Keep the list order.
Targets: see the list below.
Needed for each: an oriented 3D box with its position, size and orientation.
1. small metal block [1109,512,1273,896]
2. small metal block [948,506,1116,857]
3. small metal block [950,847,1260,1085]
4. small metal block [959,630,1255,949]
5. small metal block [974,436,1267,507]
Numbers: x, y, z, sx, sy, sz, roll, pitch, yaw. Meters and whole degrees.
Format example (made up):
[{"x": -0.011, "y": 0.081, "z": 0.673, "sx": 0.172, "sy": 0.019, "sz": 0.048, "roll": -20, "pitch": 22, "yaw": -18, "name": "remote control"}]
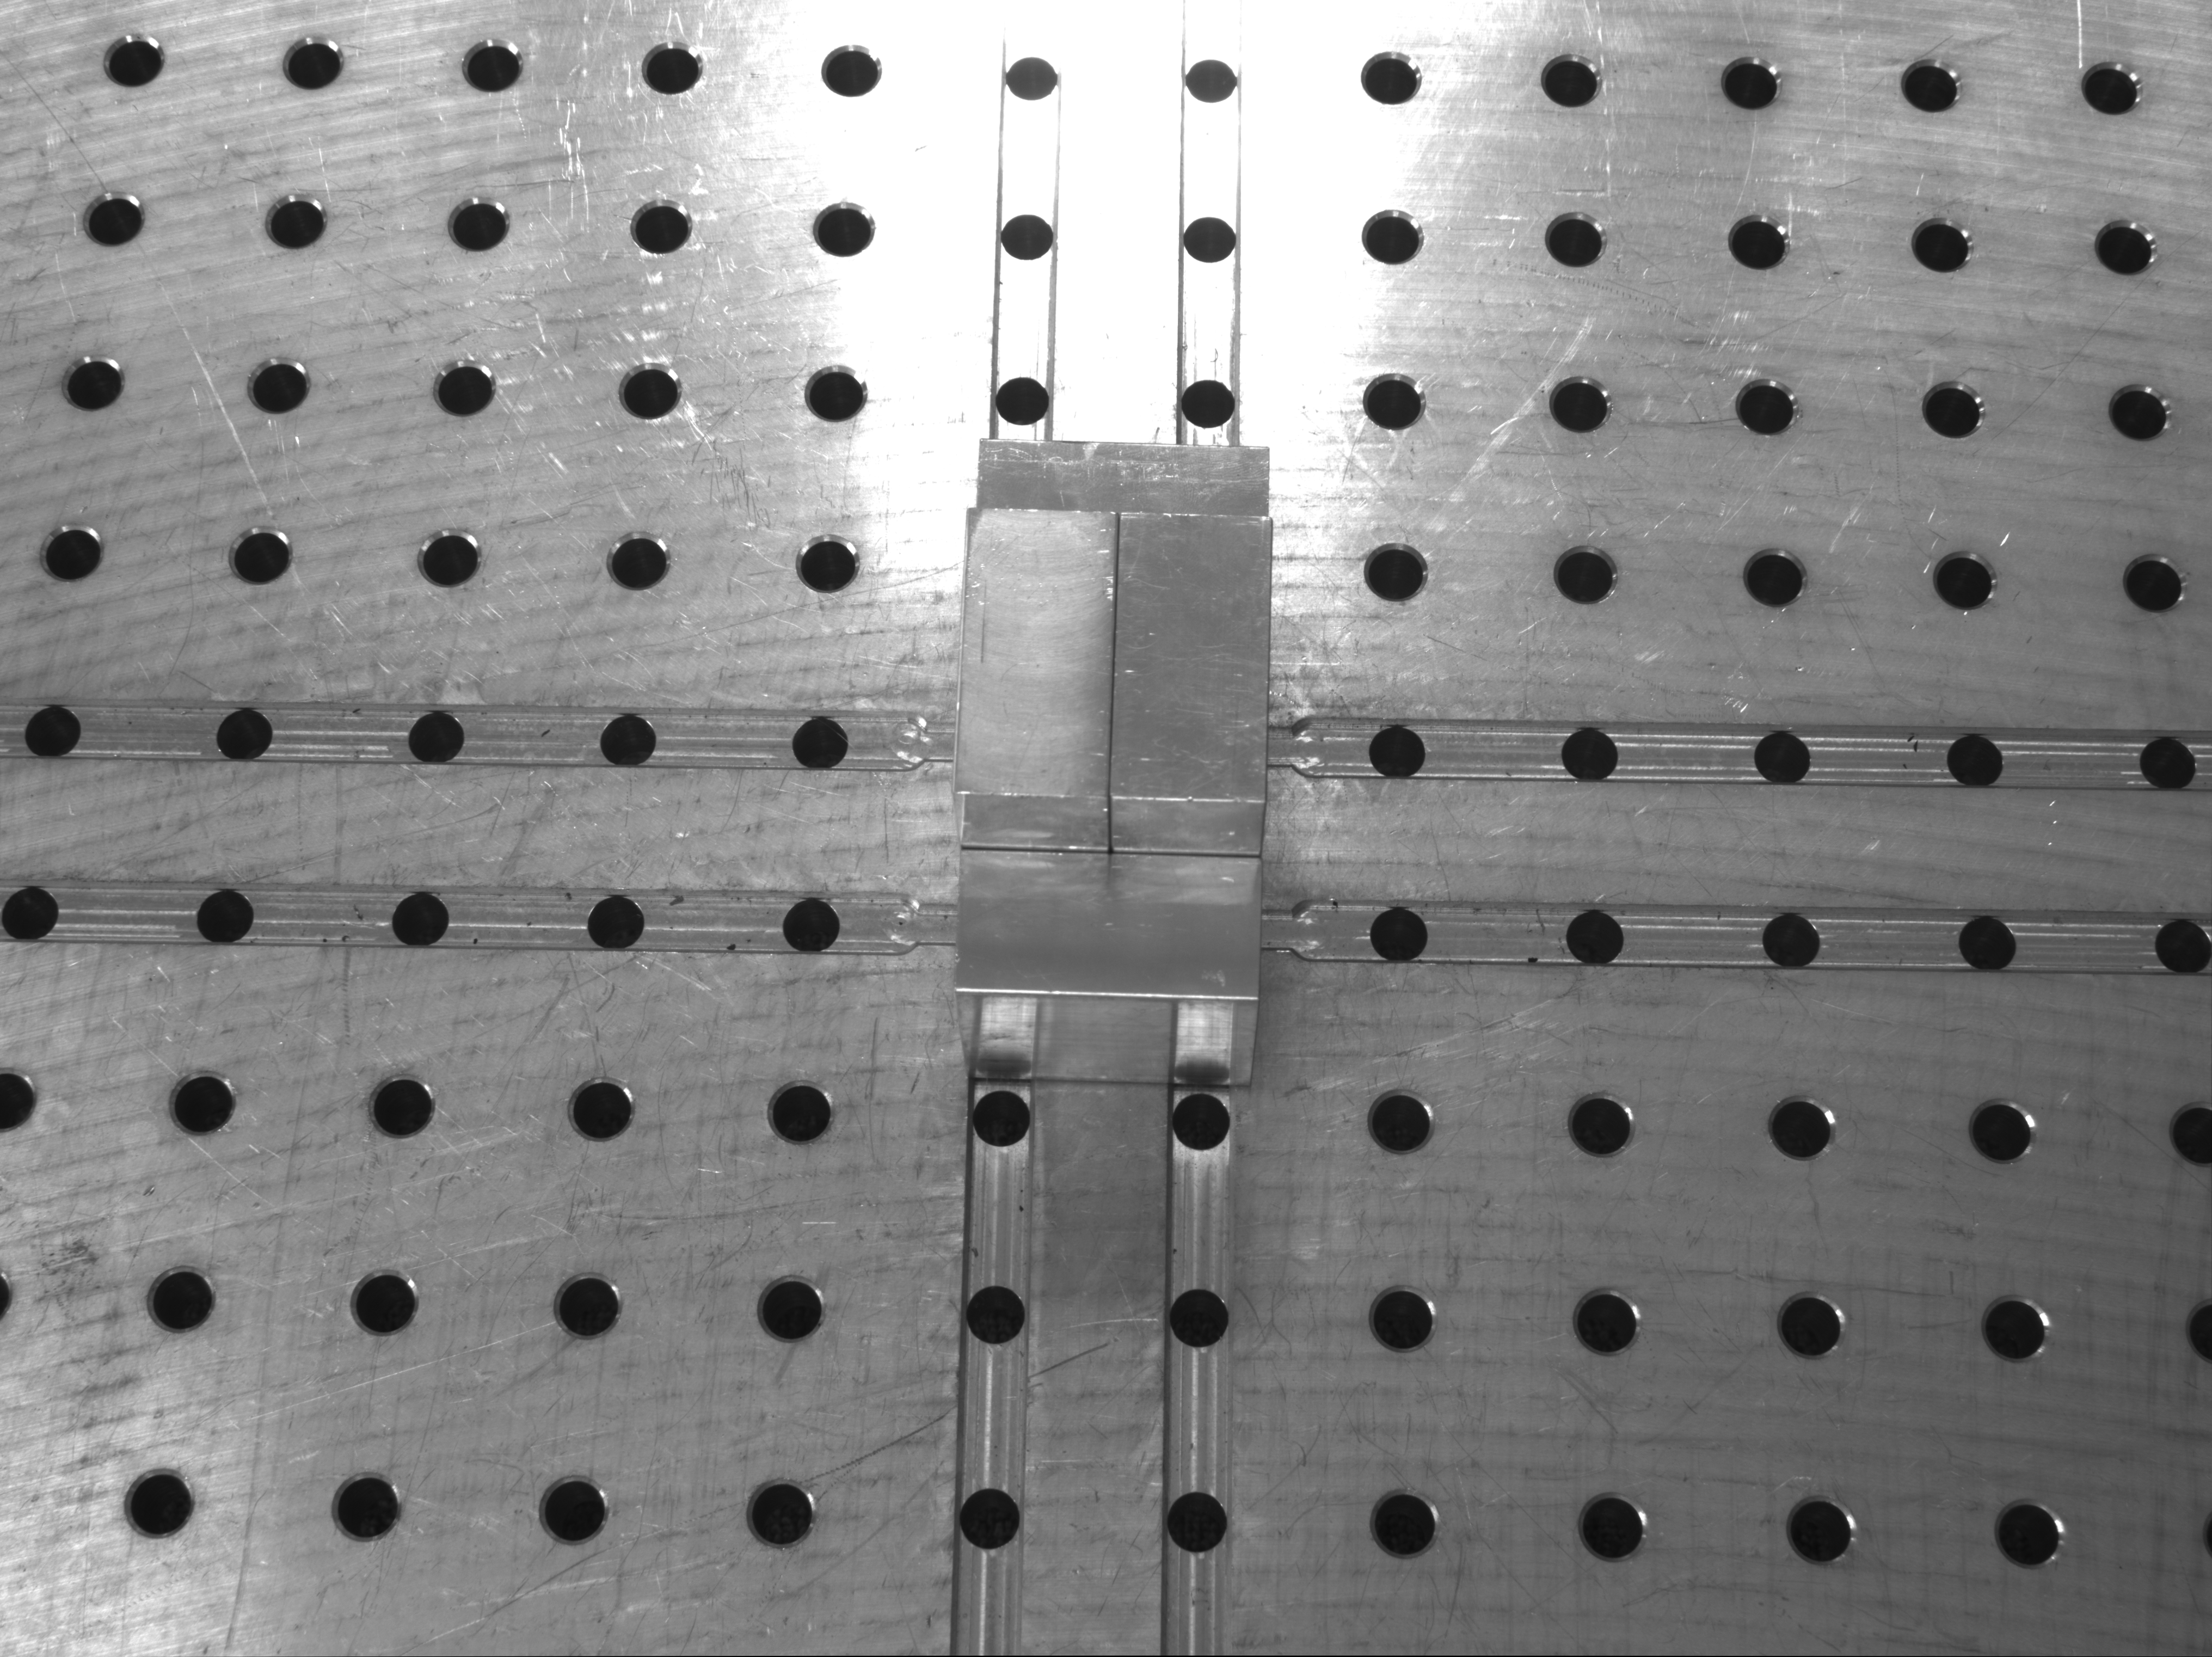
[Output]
[{"x": 0.015, "y": -0.019, "z": 0.615, "sx": 0.025, "sy": 0.050, "sz": 0.050, "roll": 1, "pitch": 70, "yaw": 2, "name": "small metal block"}, {"x": -0.012, "y": -0.020, "z": 0.615, "sx": 0.025, "sy": 0.050, "sz": 0.050, "roll": 2, "pitch": 70, "yaw": 1, "name": "small metal block"}, {"x": 0.000, "y": 0.024, "z": 0.625, "sx": 0.050, "sy": 0.050, "sz": 0.025, "roll": 1, "pitch": 70, "yaw": 1, "name": "small metal block"}, {"x": 0.001, "y": -0.007, "z": 0.650, "sx": 0.050, "sy": 0.025, "sz": 0.050, "roll": 1, "pitch": 70, "yaw": 2, "name": "small metal block"}, {"x": 0.002, "y": -0.046, "z": 0.651, "sx": 0.050, "sy": 0.050, "sz": 0.025, "roll": 2, "pitch": 70, "yaw": 1, "name": "small metal block"}]
